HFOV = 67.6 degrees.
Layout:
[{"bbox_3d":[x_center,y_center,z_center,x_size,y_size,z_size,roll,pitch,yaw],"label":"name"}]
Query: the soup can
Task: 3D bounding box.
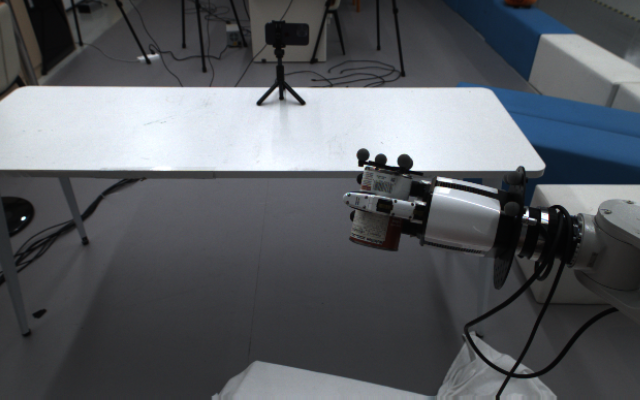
[{"bbox_3d":[0.083,0.011,0.650,0.067,0.101,0.067,12,2,0],"label":"soup can"}]
